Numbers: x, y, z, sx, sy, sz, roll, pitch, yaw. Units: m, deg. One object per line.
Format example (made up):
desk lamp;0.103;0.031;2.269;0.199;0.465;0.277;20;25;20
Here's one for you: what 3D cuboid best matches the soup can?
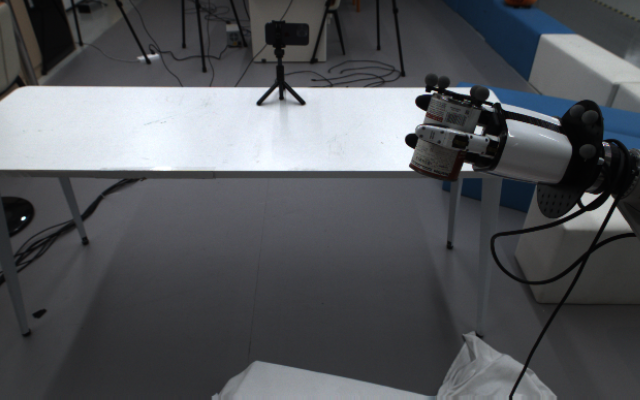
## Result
soup can;0.167;-0.084;0.641;0.067;0.101;0.067;13;18;-4
